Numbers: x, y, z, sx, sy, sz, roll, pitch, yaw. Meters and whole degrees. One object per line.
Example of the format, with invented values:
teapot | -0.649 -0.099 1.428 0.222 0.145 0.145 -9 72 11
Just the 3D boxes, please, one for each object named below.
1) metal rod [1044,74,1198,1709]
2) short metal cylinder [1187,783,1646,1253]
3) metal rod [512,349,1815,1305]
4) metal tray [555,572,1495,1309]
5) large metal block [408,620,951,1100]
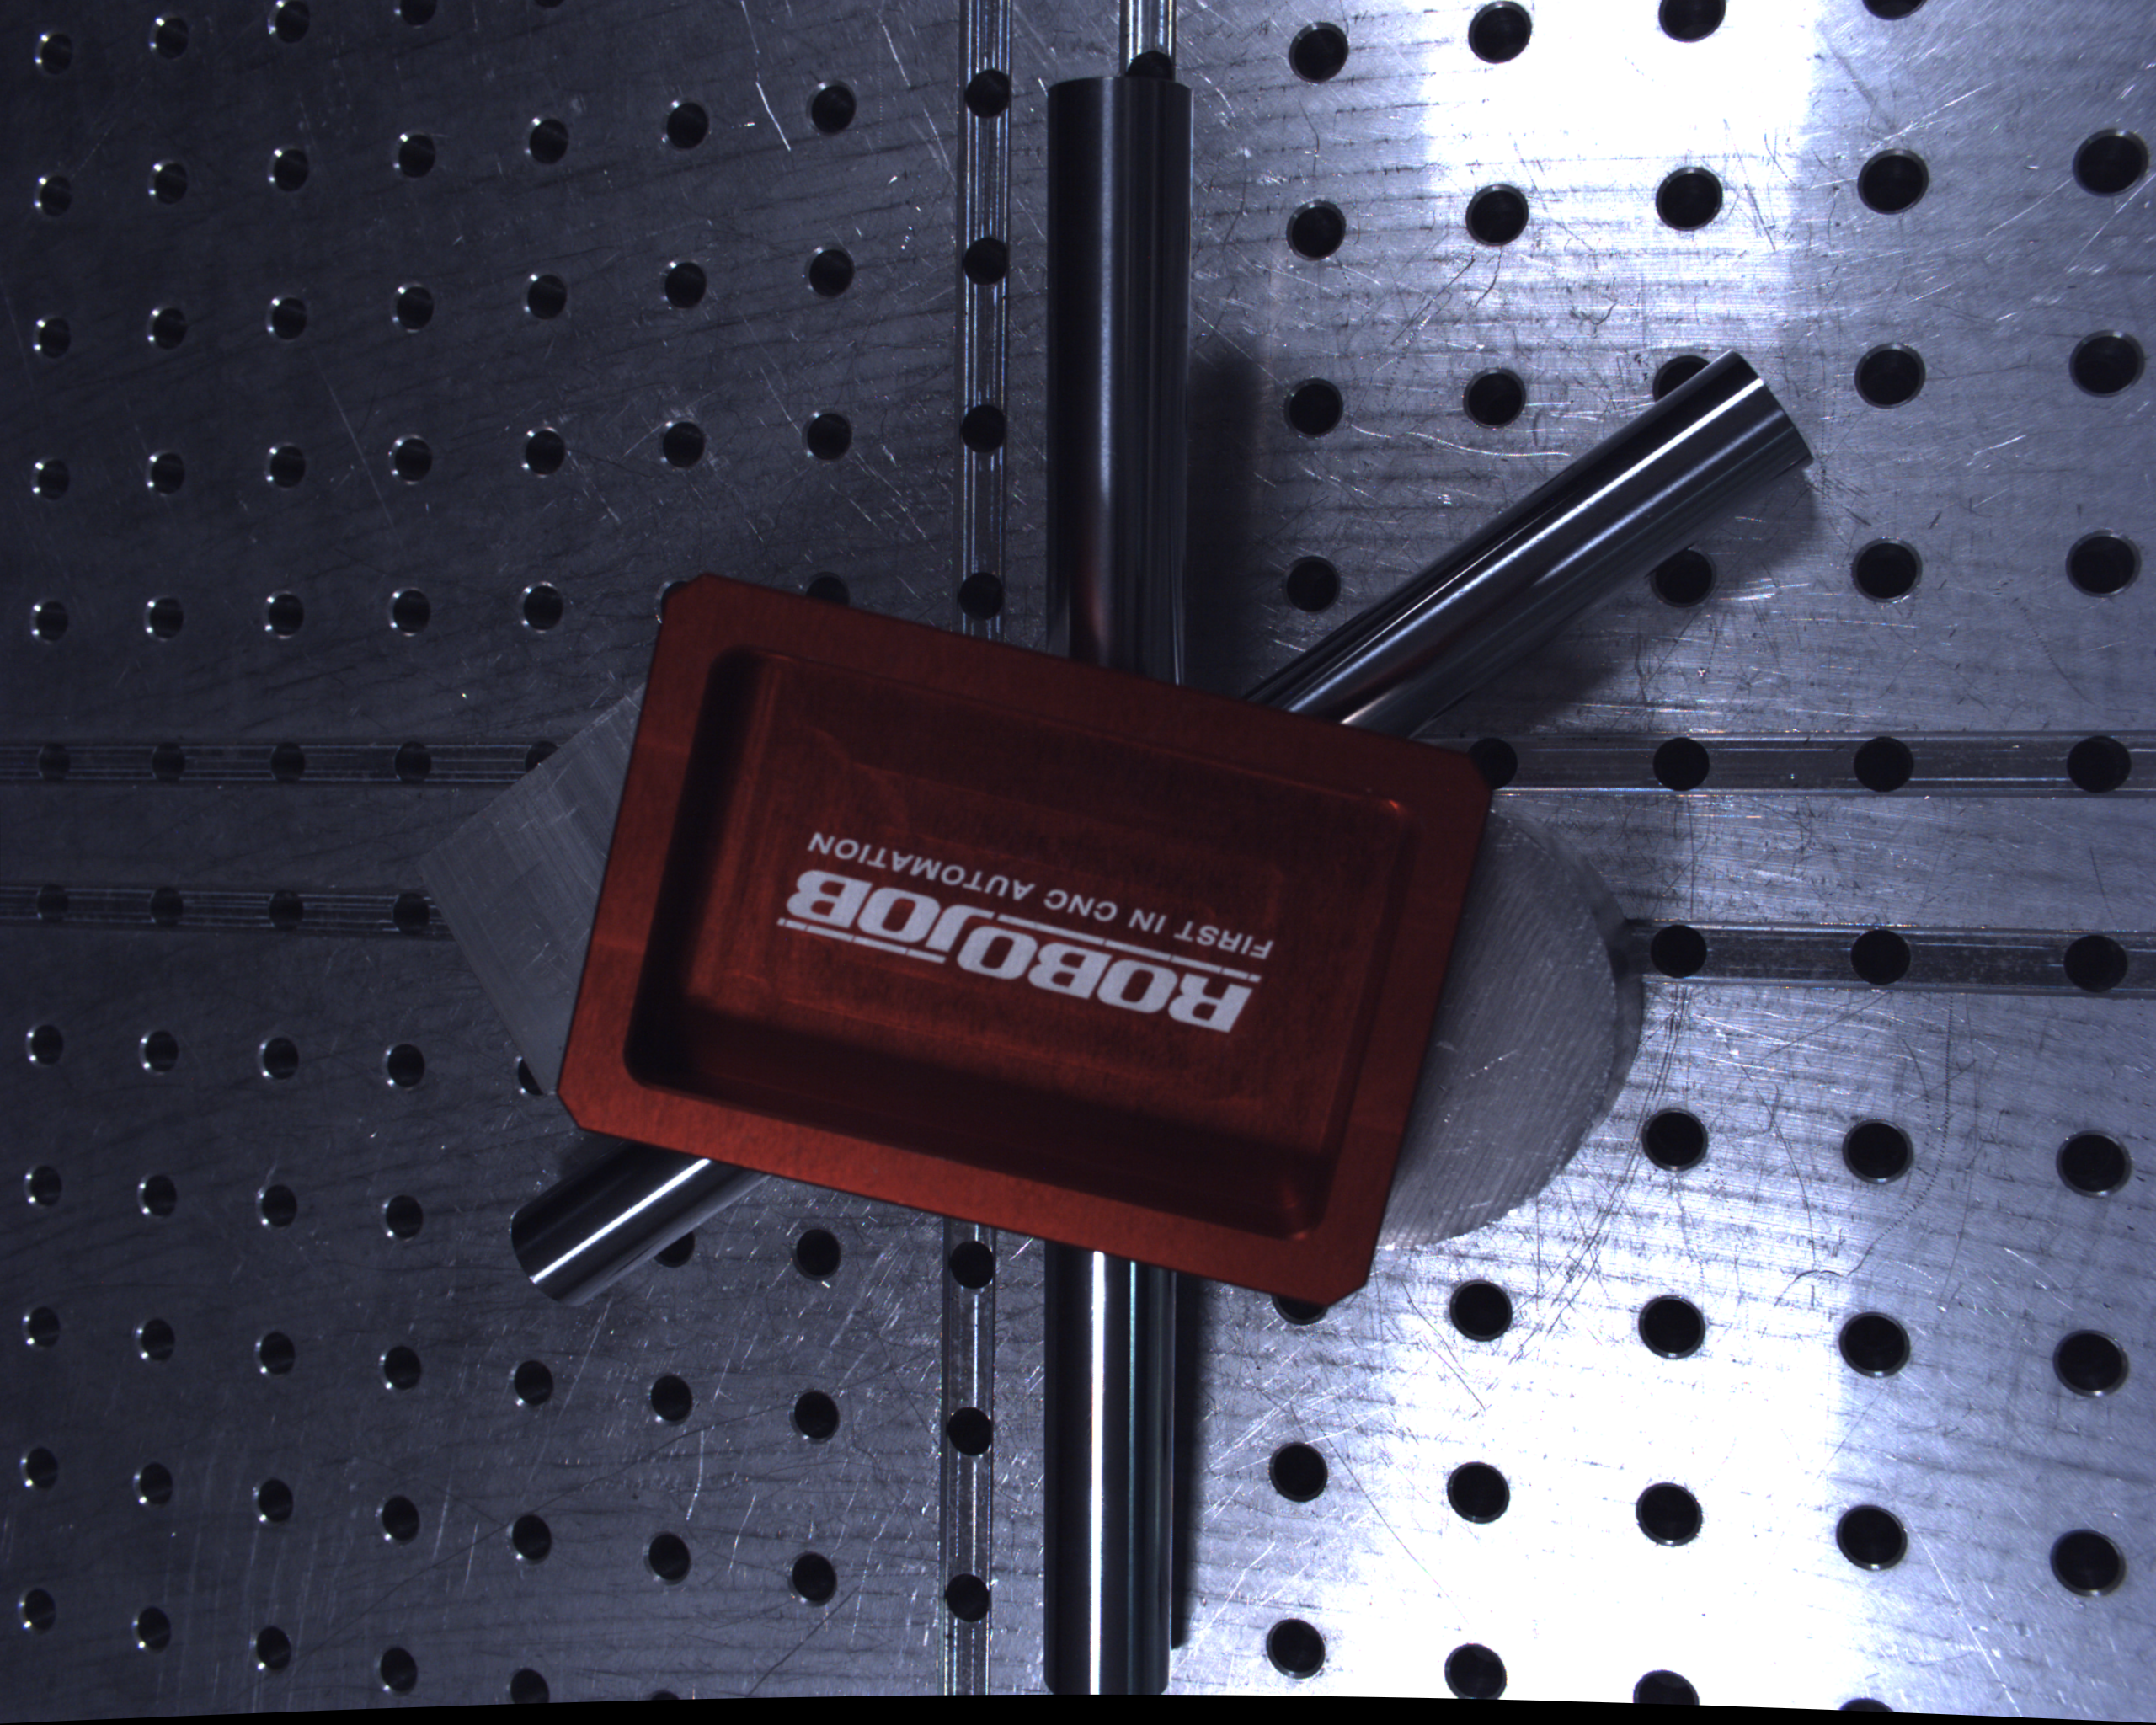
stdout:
metal rod | 0.007 0.013 0.385 0.025 0.025 0.298 4 101 19
short metal cylinder | 0.059 0.026 0.377 0.080 0.050 0.079 0 90 19
metal rod | 0.005 0.002 0.410 0.300 0.025 0.025 -35 79 16
metal tray | -0.008 0.012 0.337 0.131 0.030 0.089 13 95 0
large metal block | -0.065 -0.001 0.404 0.080 0.080 0.050 -35 79 16
